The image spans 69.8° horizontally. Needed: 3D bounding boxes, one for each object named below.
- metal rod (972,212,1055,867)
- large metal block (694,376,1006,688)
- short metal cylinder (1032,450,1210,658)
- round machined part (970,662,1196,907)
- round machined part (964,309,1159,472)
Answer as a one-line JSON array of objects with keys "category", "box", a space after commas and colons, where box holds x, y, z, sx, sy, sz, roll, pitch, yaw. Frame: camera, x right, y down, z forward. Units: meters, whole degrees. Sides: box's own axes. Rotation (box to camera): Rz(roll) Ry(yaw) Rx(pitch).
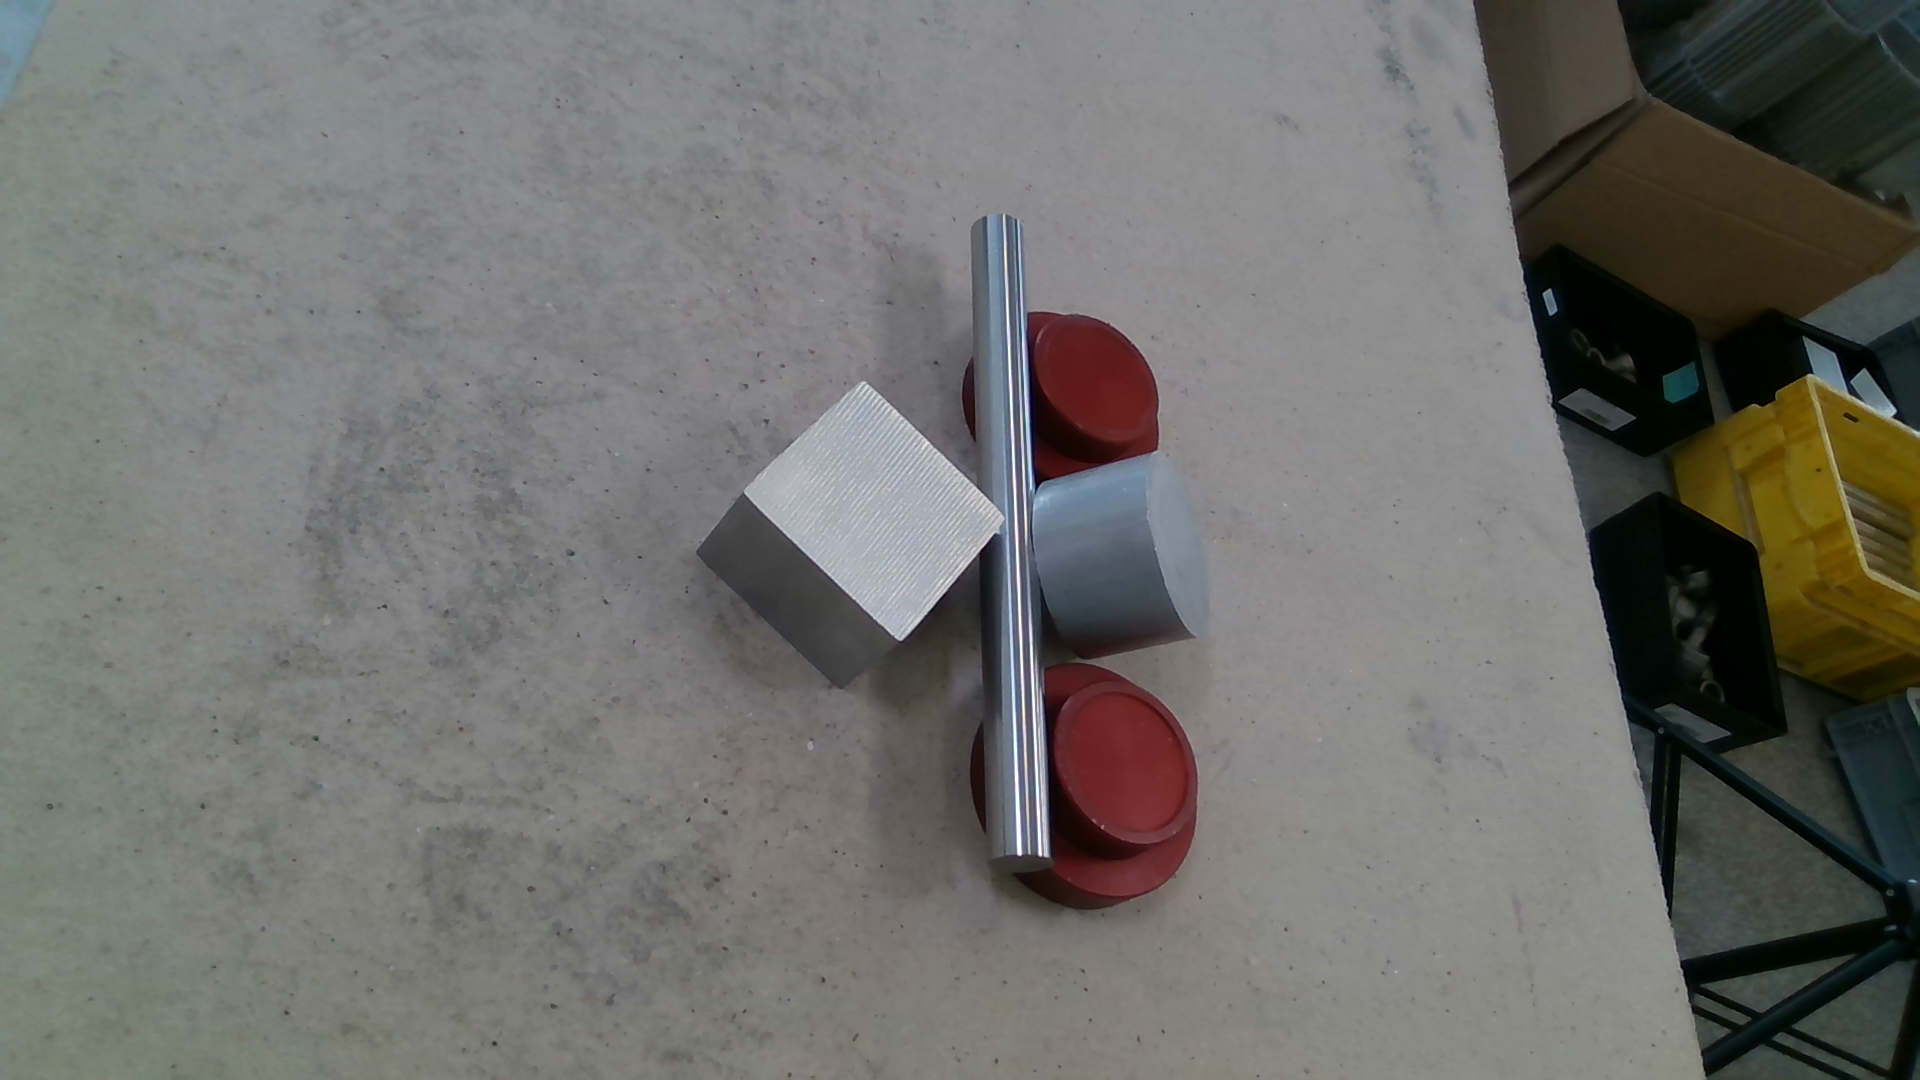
[{"category": "metal rod", "box": [0.020, -0.014, 0.579, 0.025, 0.025, 0.299, 13, 59, -25]}, {"category": "large metal block", "box": [-0.042, -0.003, 0.543, 0.080, 0.050, 0.080, 44, 51, -4]}, {"category": "short metal cylinder", "box": [0.070, 0.007, 0.586, 0.080, 0.050, 0.080, 46, 38, -51]}, {"category": "round machined part", "box": [0.056, 0.095, 0.559, 0.098, 0.042, 0.098, 14, 59, -25]}, {"category": "round machined part", "box": [0.054, -0.067, 0.644, 0.098, 0.042, 0.098, 14, 59, -25]}]
